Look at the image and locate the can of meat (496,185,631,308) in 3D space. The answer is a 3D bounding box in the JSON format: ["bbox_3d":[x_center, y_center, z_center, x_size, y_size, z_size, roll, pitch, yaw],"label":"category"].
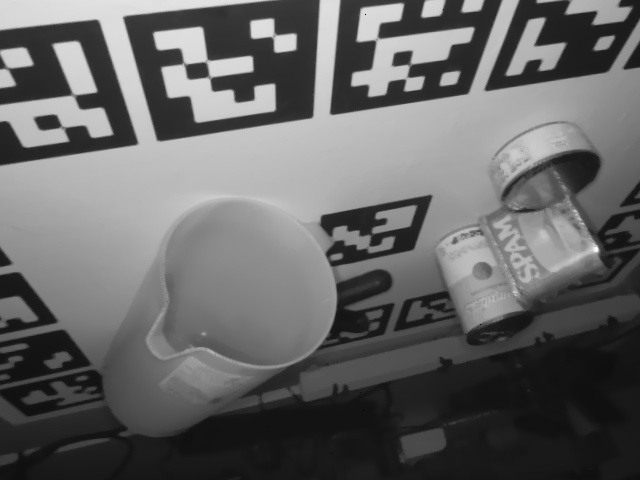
[{"bbox_3d":[0.227,-0.002,0.649,0.083,0.102,0.058,-35,141,20],"label":"can of meat"}]

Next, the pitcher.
[{"bbox_3d":[-0.078,0.080,0.607,0.192,0.133,0.238,-20,161,-36],"label":"pitcher"}]

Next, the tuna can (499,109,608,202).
[{"bbox_3d":[0.200,-0.073,0.600,0.086,0.034,0.085,-12,144,-8],"label":"tuna can"}]

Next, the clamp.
[{"bbox_3d":[0.020,0.072,0.748,0.166,0.037,0.120,-7,150,-7],"label":"clamp"}]

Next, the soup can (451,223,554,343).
[{"bbox_3d":[0.181,0.042,0.700,0.068,0.102,0.067,-13,145,-9],"label":"soup can"}]
